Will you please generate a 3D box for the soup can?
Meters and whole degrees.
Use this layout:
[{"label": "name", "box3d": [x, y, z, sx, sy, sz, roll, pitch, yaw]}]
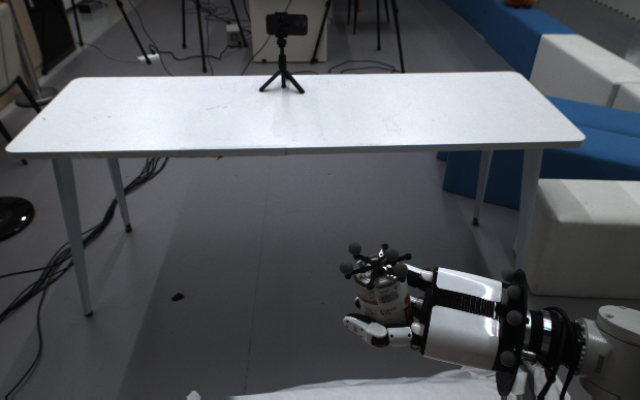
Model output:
[{"label": "soup can", "box3d": [0.086, 0.131, 0.633, 0.067, 0.101, 0.067, -11, 27, 6]}]
